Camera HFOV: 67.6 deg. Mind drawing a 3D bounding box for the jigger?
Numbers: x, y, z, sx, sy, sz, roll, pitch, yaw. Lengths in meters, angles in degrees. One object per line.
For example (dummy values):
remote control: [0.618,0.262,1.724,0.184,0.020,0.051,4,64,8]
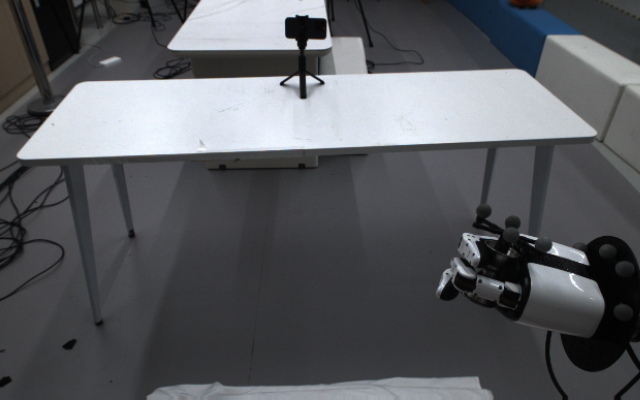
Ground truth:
jigger: [0.200,0.085,0.569,0.043,0.071,0.043,18,17,-6]
